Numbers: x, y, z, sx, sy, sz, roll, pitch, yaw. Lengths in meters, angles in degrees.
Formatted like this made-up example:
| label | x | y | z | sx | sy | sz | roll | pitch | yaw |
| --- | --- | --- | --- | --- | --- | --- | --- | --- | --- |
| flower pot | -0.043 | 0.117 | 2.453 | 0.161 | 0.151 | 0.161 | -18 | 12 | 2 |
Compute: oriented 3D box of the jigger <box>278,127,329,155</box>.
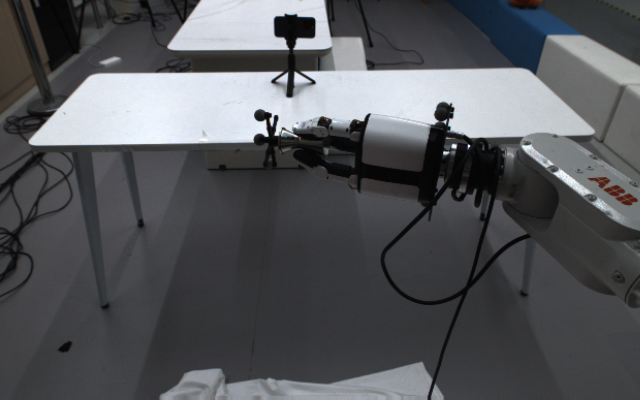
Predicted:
| label | x | y | z | sx | sy | sz | roll | pitch | yaw |
| --- | --- | --- | --- | --- | --- | --- | --- | --- | --- |
| jigger | -0.016 | -0.089 | 0.707 | 0.071 | 0.043 | 0.043 | 3 | 34 | 12 |
